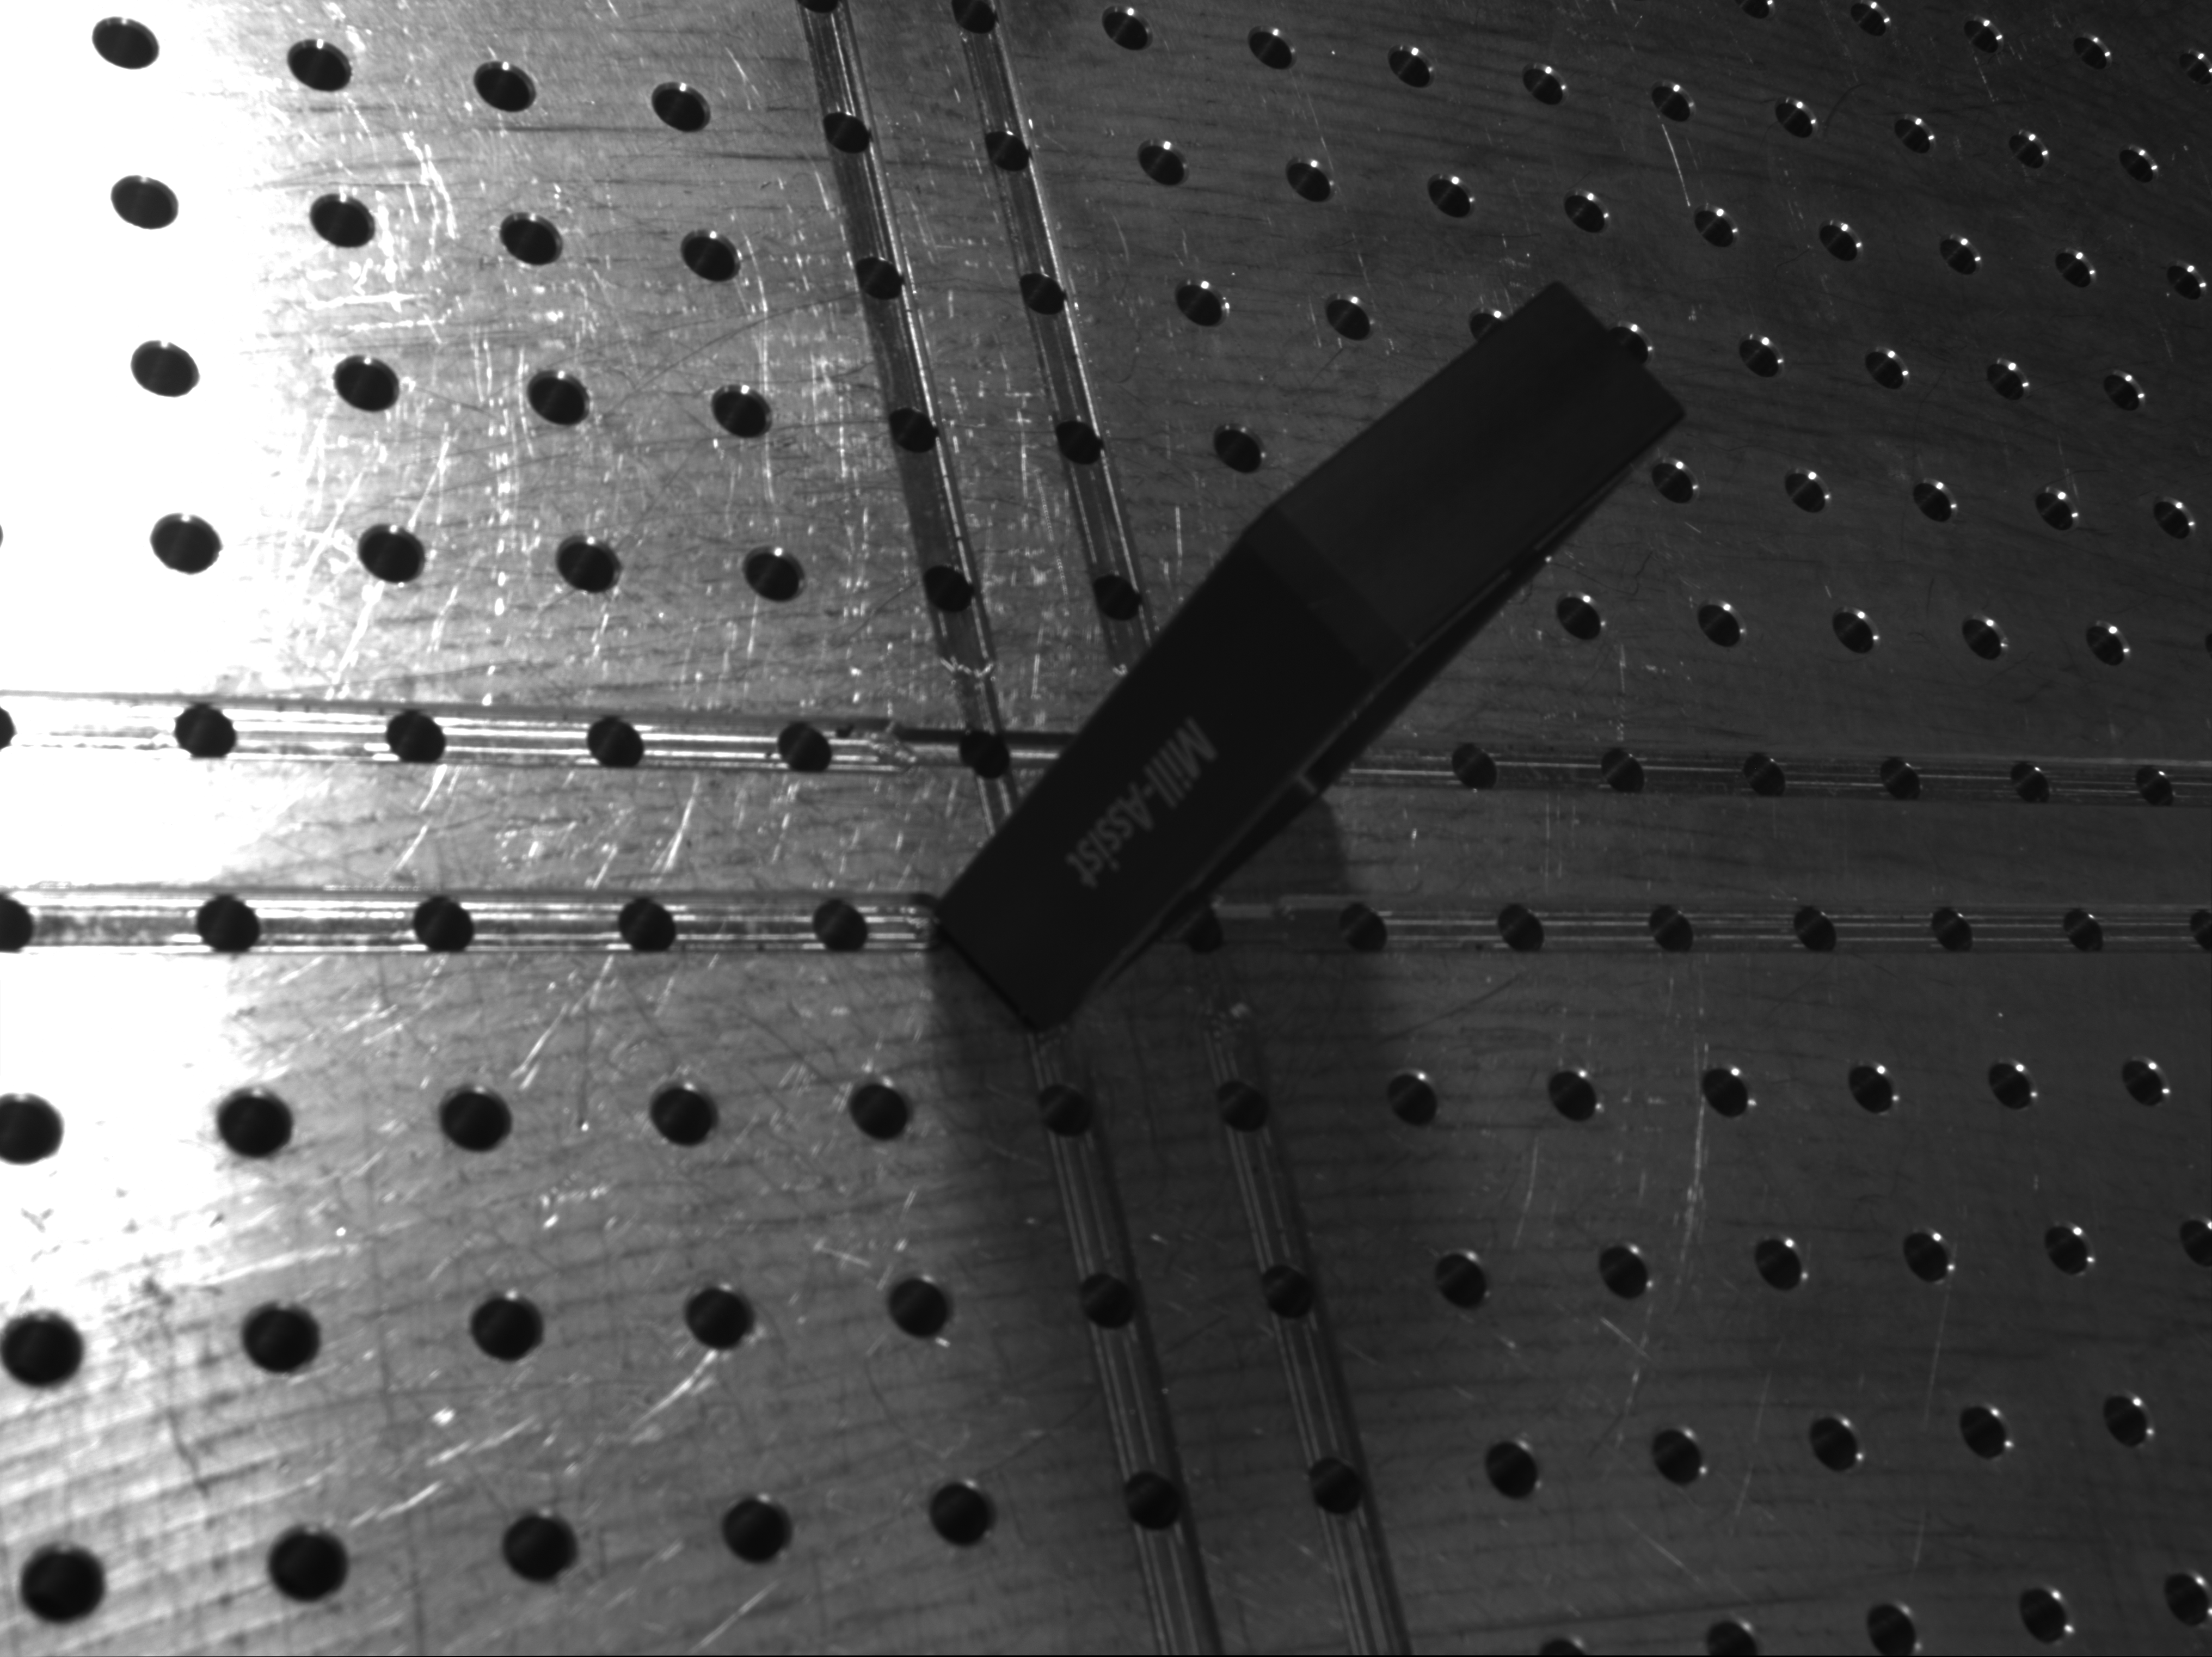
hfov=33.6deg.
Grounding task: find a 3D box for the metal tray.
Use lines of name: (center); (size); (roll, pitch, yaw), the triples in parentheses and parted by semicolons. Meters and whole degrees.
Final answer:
metal tray: (0.033, -0.026, 0.609); (0.030, 0.130, 0.090); (46, 51, 5)
